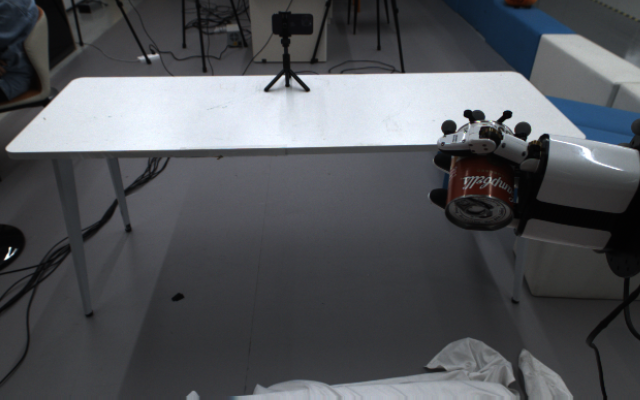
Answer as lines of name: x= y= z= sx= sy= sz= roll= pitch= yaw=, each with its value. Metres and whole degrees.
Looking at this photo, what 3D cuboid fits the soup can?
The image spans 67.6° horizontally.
soup can: x=0.175 y=-0.027 z=0.518 sx=0.067 sy=0.067 sz=0.101 roll=9 pitch=58 yaw=10
